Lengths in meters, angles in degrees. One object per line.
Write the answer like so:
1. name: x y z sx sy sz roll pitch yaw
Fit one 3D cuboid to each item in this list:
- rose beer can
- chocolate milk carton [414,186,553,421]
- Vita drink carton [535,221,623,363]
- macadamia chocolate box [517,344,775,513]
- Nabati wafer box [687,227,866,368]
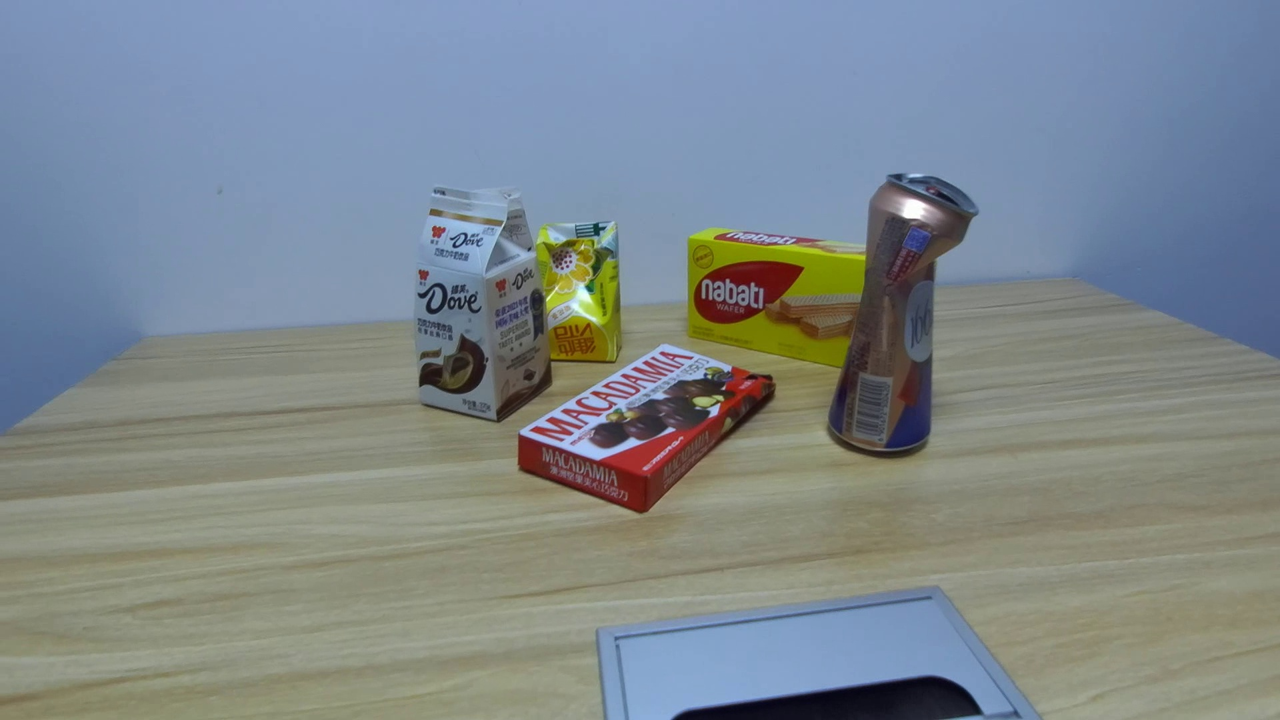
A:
1. rose beer can: 0.158 -0.025 0.434 0.070 0.168 0.069 -2 24 -13
2. chocolate milk carton: -0.119 -0.045 0.511 0.084 0.155 0.073 10 26 25
3. Vita drink carton: -0.051 -0.056 0.590 0.071 0.110 0.046 0 19 8
4. macadamia chocolate box: 0.015 0.035 0.478 0.102 0.027 0.187 15 28 29
5. Nabati wafer box: 0.135 -0.051 0.585 0.202 0.093 0.042 12 24 27
